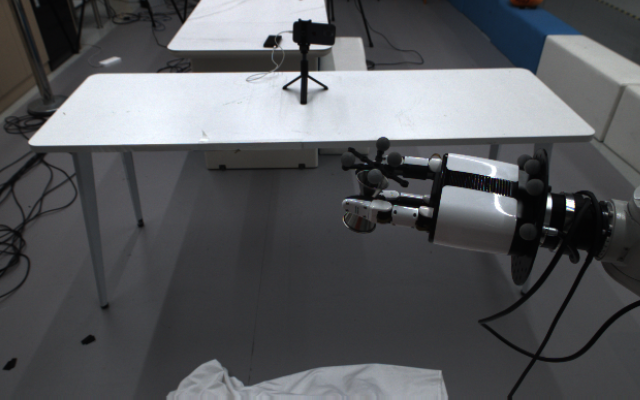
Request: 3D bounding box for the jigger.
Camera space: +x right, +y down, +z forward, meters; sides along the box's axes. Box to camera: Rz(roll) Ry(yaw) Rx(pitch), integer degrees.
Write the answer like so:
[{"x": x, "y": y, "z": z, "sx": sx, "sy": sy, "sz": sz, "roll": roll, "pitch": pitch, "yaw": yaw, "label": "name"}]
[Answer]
[{"x": 0.056, "y": 0.001, "z": 0.599, "sx": 0.043, "sy": 0.071, "sz": 0.043, "roll": 10, "pitch": 36, "yaw": -7, "label": "jigger"}]
